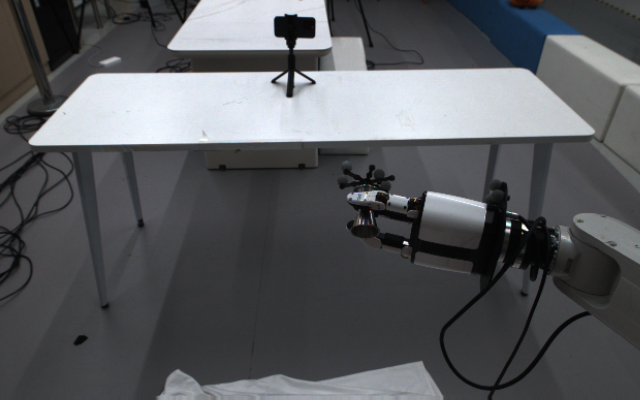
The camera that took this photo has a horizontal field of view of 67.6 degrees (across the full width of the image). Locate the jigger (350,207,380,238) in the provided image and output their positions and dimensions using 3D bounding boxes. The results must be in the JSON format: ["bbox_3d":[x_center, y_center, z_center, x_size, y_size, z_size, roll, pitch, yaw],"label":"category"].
[{"bbox_3d":[0.066,0.013,0.713,0.043,0.043,0.071,4,60,2],"label":"jigger"}]
